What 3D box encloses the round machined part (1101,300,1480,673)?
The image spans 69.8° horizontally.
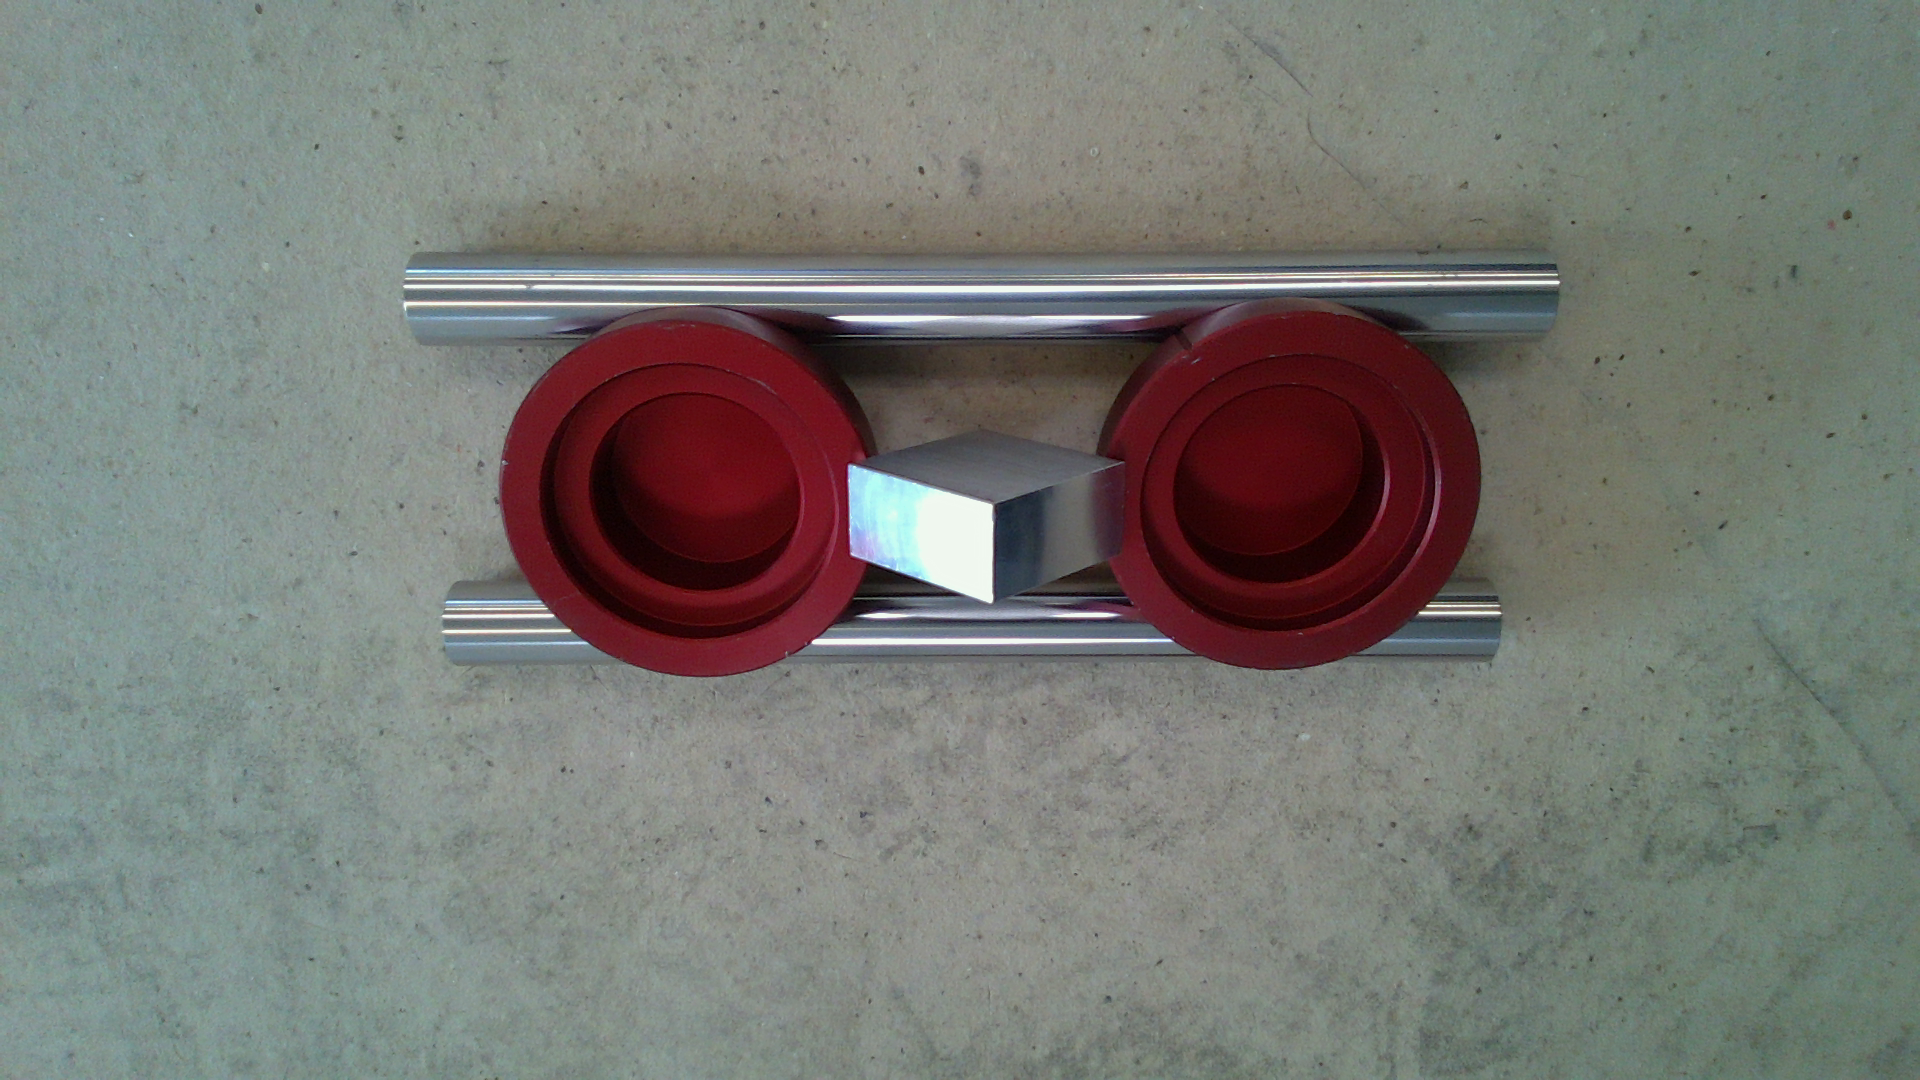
[{"bbox_3d":[0.085,-0.017,0.374,0.098,0.042,0.098,0,110,0],"label":"round machined part"}]

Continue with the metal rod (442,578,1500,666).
[{"bbox_3d":[0.003,0.024,0.402,0.300,0.025,0.025,0,110,0],"label":"metal rod"}]

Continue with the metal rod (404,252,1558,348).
[{"bbox_3d":[0.006,-0.064,0.370,0.300,0.025,0.025,0,110,0],"label":"metal rod"}]

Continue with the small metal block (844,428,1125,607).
[{"bbox_3d":[0.006,-0.008,0.350,0.050,0.050,0.025,17,116,40],"label":"small metal block"}]

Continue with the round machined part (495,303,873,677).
[{"bbox_3d":[-0.071,-0.016,0.374,0.098,0.042,0.098,0,110,0],"label":"round machined part"}]
